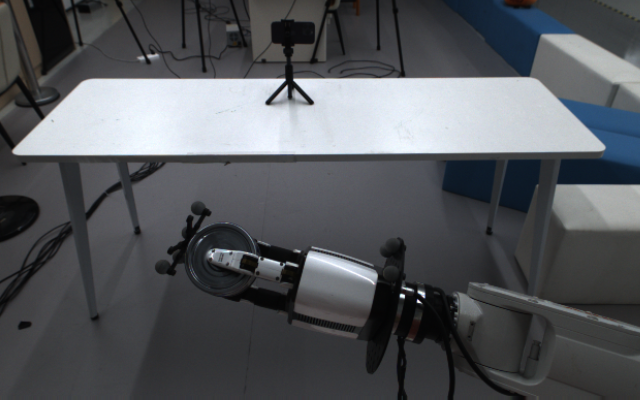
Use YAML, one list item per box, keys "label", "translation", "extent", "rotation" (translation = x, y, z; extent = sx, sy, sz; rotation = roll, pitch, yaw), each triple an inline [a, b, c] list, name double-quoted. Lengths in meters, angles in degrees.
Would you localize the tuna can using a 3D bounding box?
- label: "tuna can"
  translation: [-0.109, 0.075, 0.566]
  extent: [0.085, 0.034, 0.085]
  rotation: [0, 75, -2]
